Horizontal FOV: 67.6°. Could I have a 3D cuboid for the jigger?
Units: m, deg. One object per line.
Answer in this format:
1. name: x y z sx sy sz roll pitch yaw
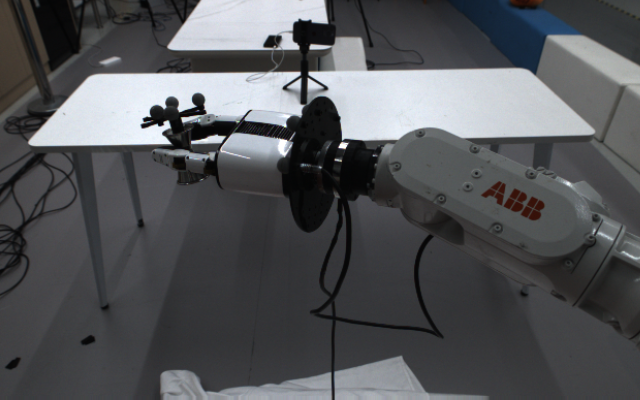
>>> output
1. jigger: -0.171 -0.060 0.629 0.043 0.071 0.043 -10 24 4
